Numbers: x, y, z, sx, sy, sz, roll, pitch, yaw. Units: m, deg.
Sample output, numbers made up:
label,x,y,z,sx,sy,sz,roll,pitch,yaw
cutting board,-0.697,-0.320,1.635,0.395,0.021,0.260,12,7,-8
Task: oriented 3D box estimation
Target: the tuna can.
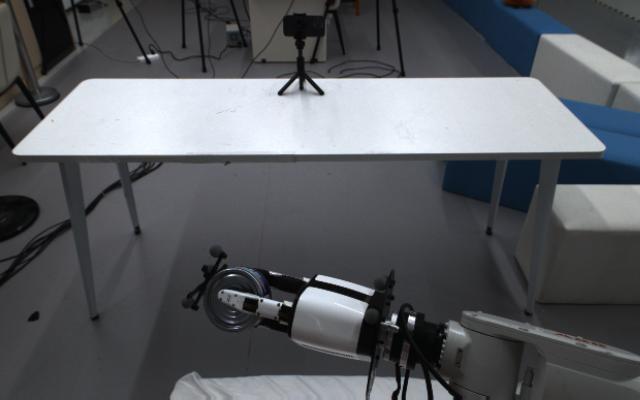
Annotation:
label,x,y,z,sx,sy,sz,roll,pitch,yaw
tuna can,-0.107,0.135,0.642,0.085,0.085,0.034,9,-4,10
